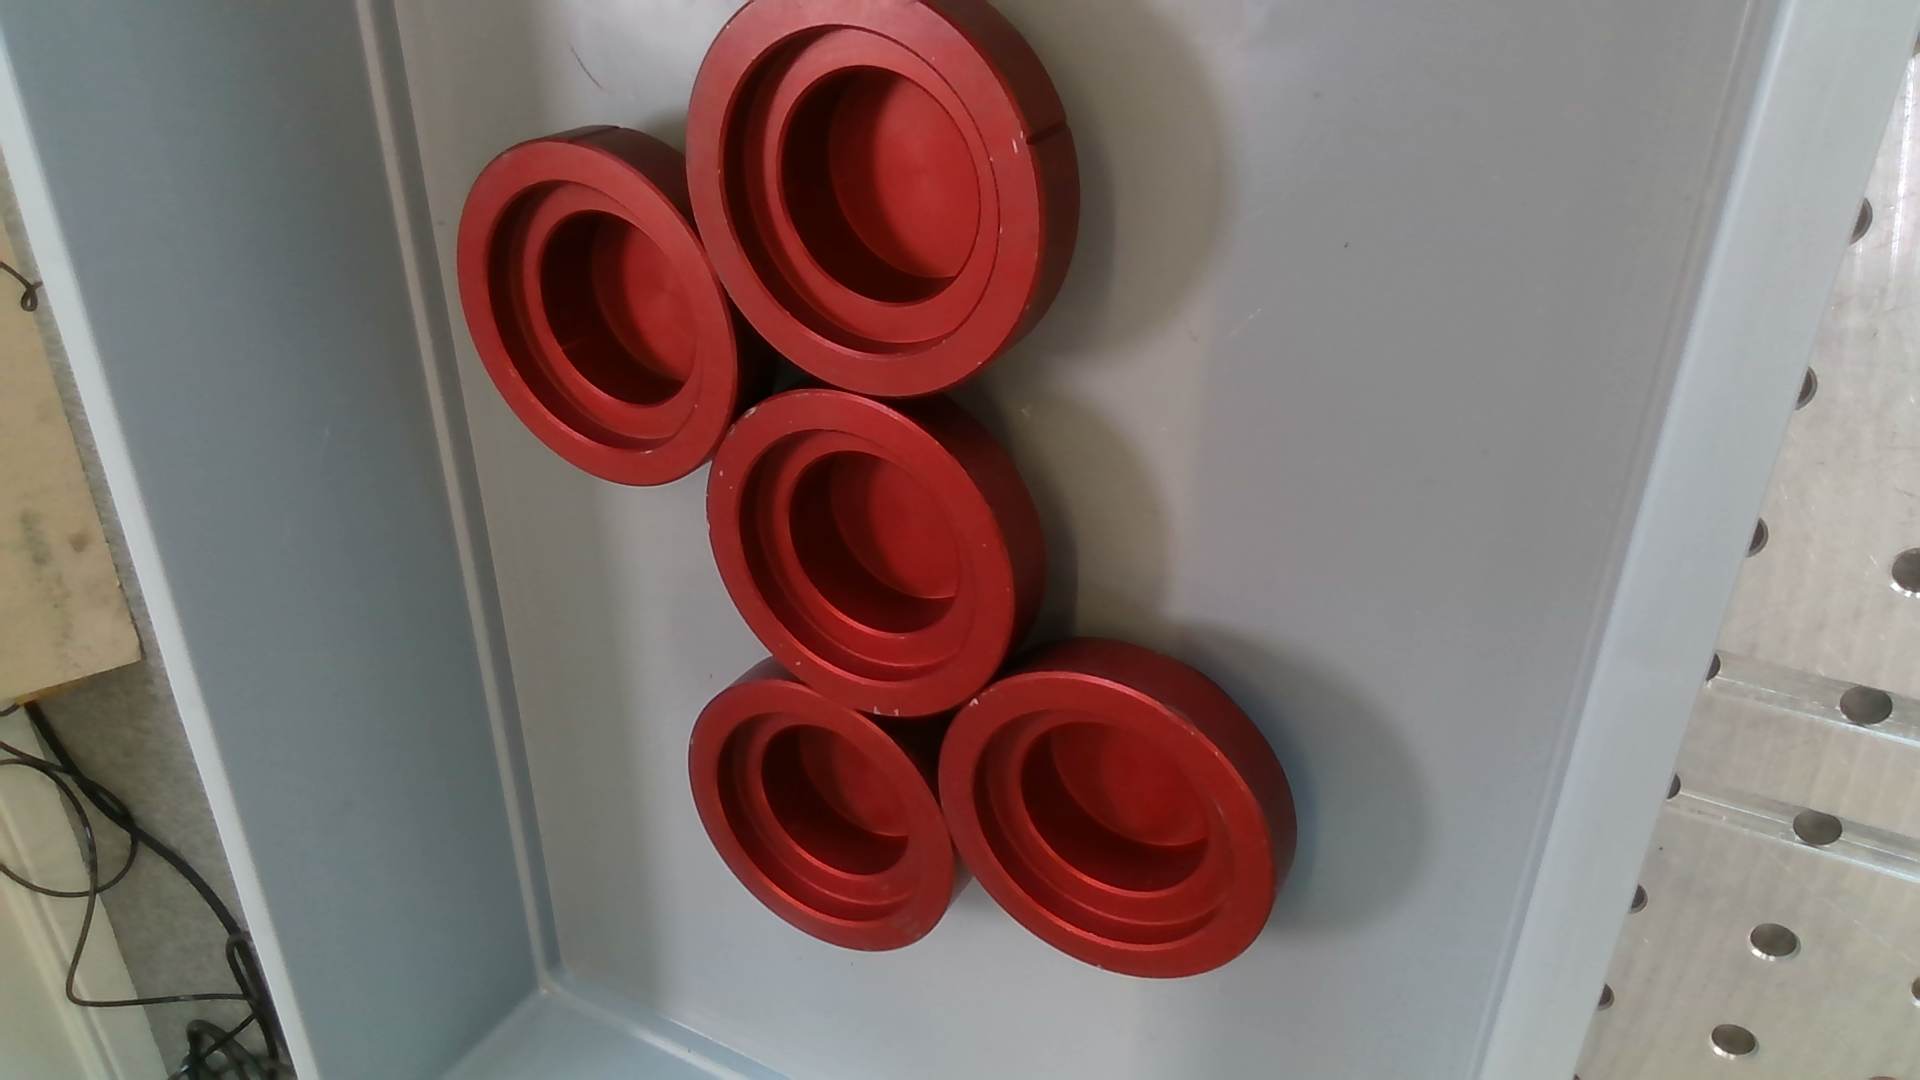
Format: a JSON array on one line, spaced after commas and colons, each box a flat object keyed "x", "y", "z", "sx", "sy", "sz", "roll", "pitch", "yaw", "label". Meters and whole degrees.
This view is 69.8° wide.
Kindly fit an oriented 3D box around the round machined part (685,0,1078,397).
[{"x": -0.015, "y": -0.088, "z": 0.337, "sx": 0.098, "sy": 0.042, "sz": 0.098, "roll": 15, "pitch": 122, "yaw": 25, "label": "round machined part"}]

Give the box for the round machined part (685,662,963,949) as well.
[{"x": -0.036, "y": 0.078, "z": 0.440, "sx": 0.098, "sy": 0.042, "sz": 0.098, "roll": 15, "pitch": 122, "yaw": 25, "label": "round machined part"}]

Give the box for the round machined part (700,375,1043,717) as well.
[{"x": -0.021, "y": -0.003, "z": 0.385, "sx": 0.098, "sy": 0.042, "sz": 0.098, "roll": 15, "pitch": 122, "yaw": 25, "label": "round machined part"}]

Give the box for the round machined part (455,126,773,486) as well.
[{"x": -0.093, "y": -0.068, "z": 0.394, "sx": 0.098, "sy": 0.042, "sz": 0.098, "roll": 15, "pitch": 122, "yaw": 25, "label": "round machined part"}]

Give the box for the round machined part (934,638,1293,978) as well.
[{"x": 0.045, "y": 0.070, "z": 0.386, "sx": 0.098, "sy": 0.042, "sz": 0.098, "roll": 15, "pitch": 122, "yaw": 25, "label": "round machined part"}]
